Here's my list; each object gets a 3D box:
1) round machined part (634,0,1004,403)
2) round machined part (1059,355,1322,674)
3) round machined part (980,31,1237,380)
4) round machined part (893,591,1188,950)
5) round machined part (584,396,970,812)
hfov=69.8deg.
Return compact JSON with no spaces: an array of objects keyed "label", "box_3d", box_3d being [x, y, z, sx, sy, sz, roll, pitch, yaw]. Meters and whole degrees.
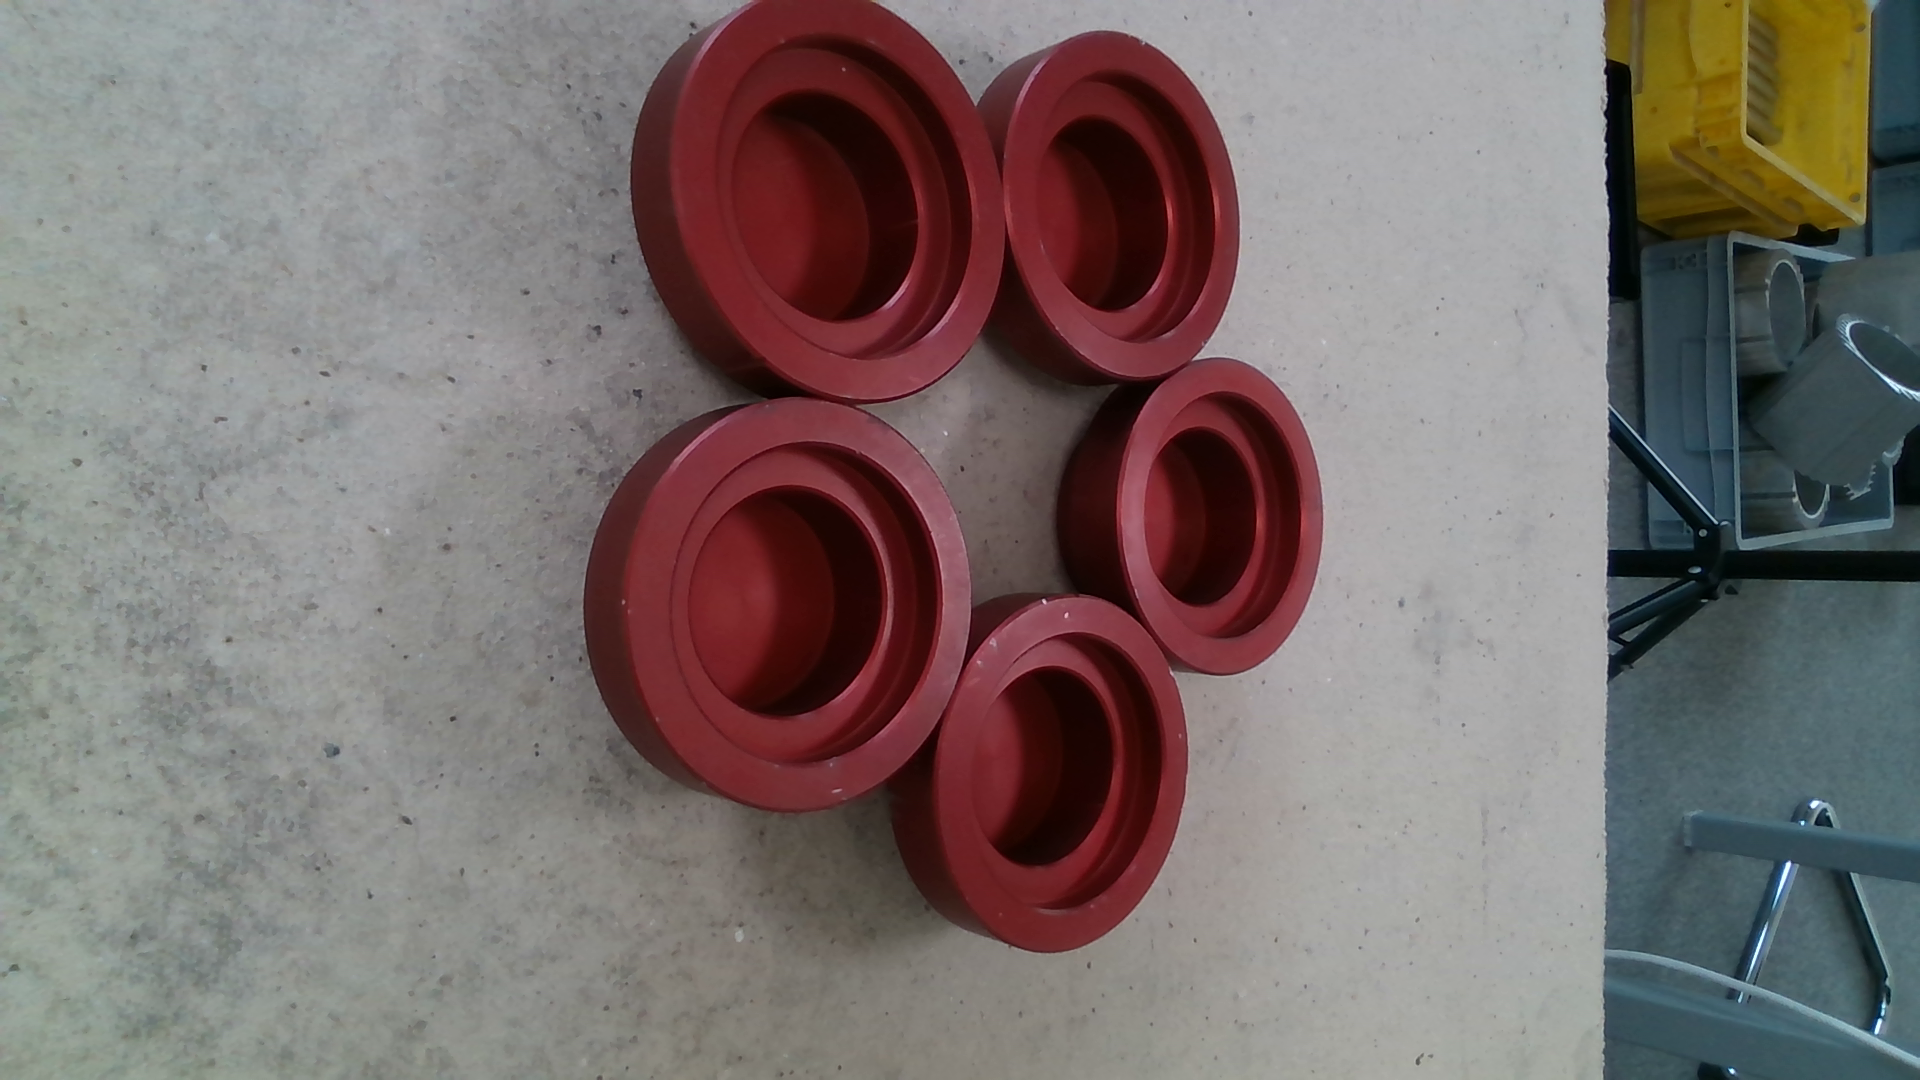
[{"label":"round machined part","box_3d":[-0.038,-0.083,0.347,0.098,0.042,0.098,-1,92,-42]},{"label":"round machined part","box_3d":[0.070,-0.008,0.438,0.098,0.042,0.098,-1,92,-42]},{"label":"round machined part","box_3d":[0.036,-0.096,0.410,0.098,0.042,0.098,0,91,-42]},{"label":"round machined part","box_3d":[0.018,0.063,0.395,0.098,0.042,0.098,-1,92,-42]},{"label":"round machined part","box_3d":[-0.048,0.015,0.340,0.098,0.042,0.098,-1,92,-41]}]
